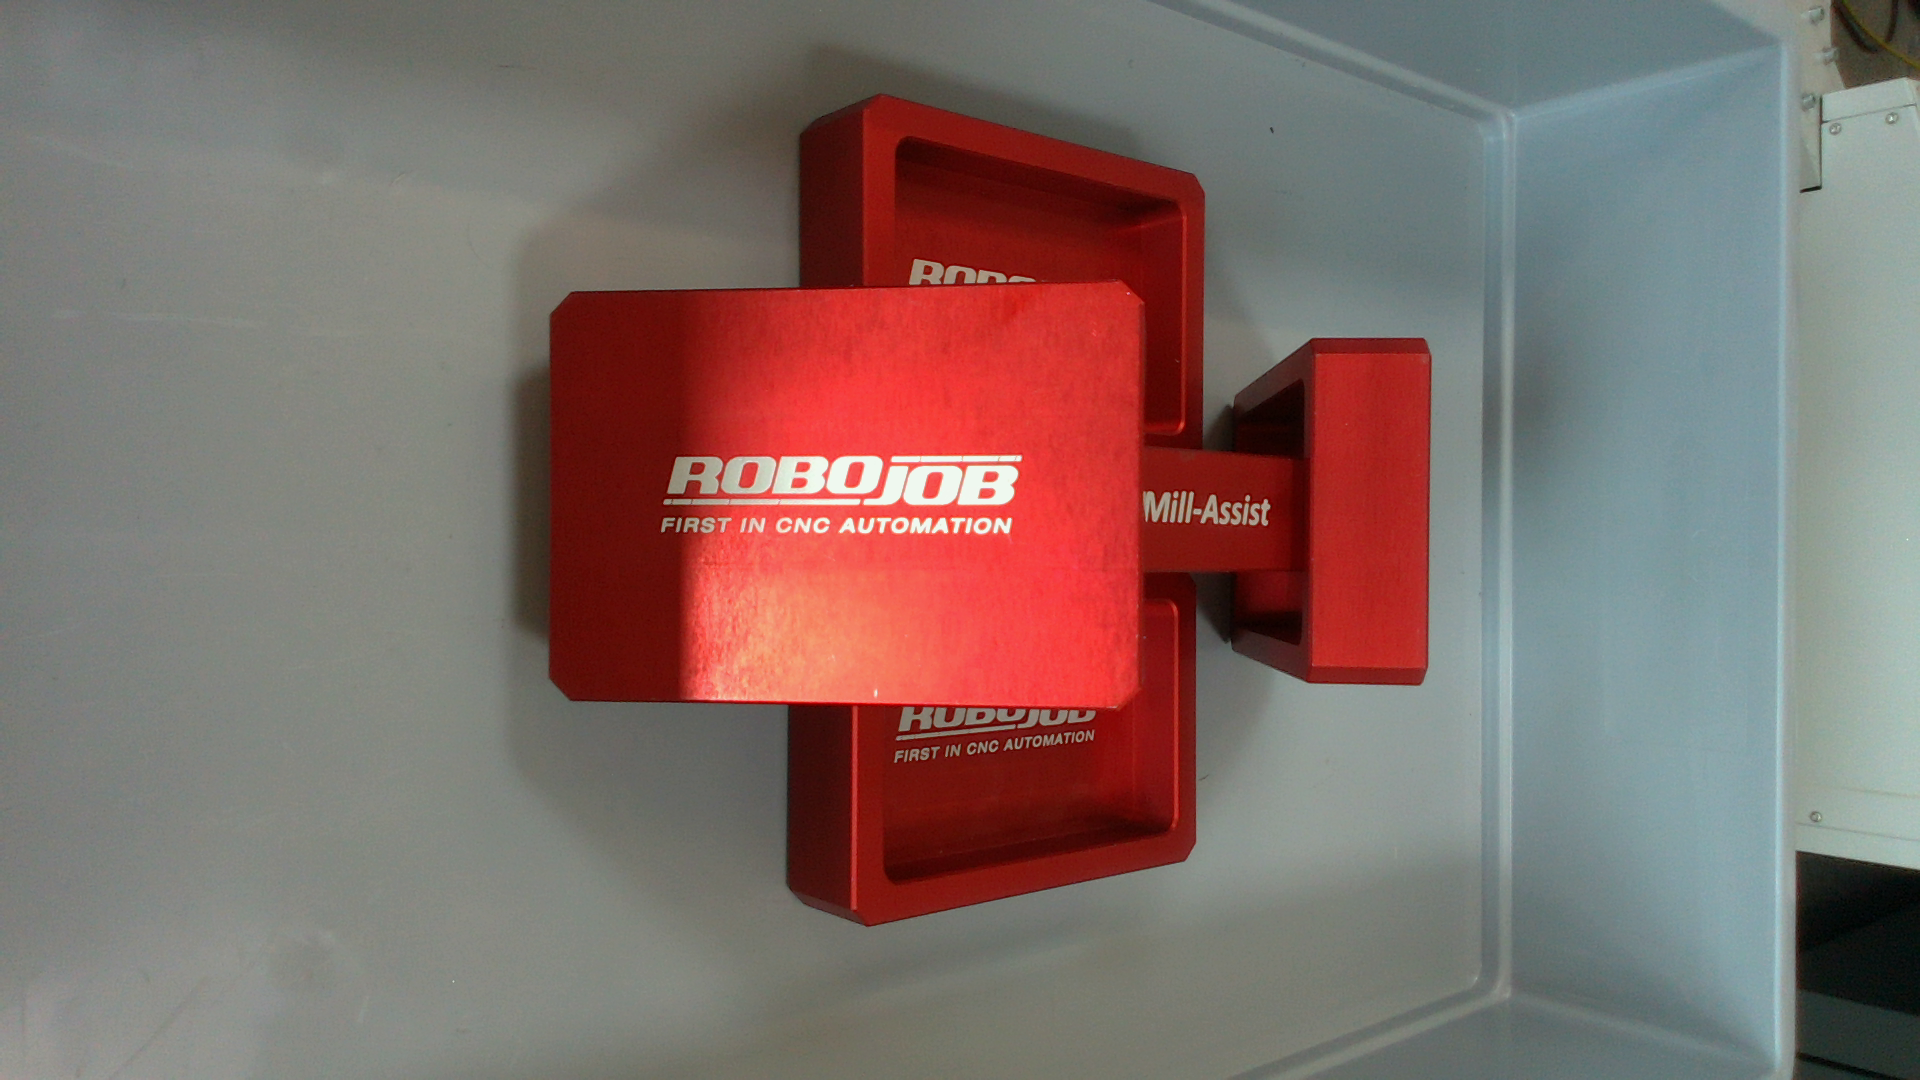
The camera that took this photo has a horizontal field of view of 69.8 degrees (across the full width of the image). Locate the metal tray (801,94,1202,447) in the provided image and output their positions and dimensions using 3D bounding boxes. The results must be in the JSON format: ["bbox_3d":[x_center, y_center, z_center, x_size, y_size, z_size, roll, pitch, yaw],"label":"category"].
[{"bbox_3d":[0.016,-0.068,0.397,0.131,0.030,0.090,0,91,-40],"label":"metal tray"}]

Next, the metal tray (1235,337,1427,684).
[{"bbox_3d":[0.108,-0.007,0.417,0.030,0.130,0.090,0,89,3],"label":"metal tray"}]

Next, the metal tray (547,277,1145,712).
[{"bbox_3d":[-0.024,-0.010,0.308,0.030,0.130,0.090,3,87,-82],"label":"metal tray"}]

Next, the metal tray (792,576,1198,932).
[{"bbox_3d":[0.015,0.053,0.394,0.131,0.030,0.090,1,90,-40],"label":"metal tray"}]

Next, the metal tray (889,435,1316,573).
[{"bbox_3d":[0.032,-0.007,0.372,0.131,0.090,0.030,1,90,-40],"label":"metal tray"}]
